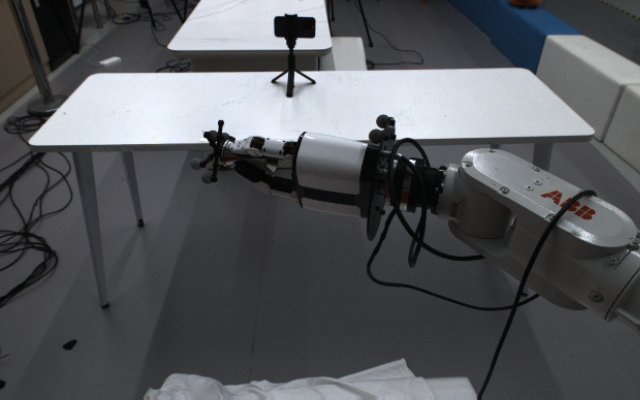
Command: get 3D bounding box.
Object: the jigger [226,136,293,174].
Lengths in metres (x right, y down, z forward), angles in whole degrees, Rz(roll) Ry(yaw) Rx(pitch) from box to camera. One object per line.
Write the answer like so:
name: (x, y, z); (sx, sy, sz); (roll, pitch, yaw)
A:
jigger: (-0.091, -0.065, 0.668); (0.071, 0.043, 0.043); (10, 35, 16)
